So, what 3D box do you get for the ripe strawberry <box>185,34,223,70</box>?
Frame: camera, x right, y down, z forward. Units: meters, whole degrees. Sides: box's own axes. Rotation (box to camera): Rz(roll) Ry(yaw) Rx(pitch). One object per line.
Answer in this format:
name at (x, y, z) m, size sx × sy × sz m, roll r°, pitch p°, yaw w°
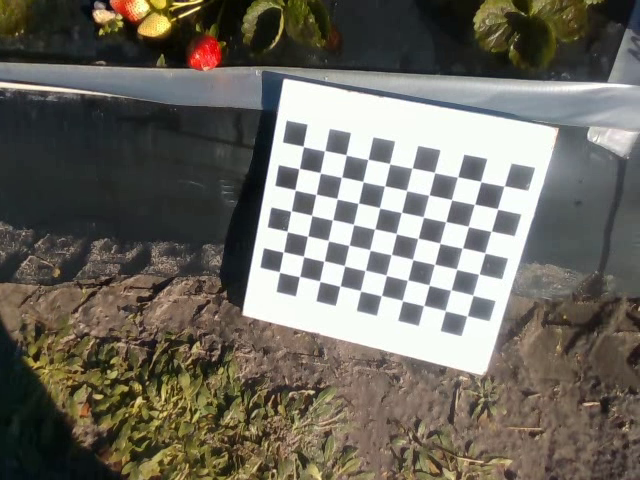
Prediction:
ripe strawberry at (-0.113, -0.162, 0.539) m, size 0.036 × 0.038 × 0.046 m, roll 11°, pitch 28°, yaw 11°
